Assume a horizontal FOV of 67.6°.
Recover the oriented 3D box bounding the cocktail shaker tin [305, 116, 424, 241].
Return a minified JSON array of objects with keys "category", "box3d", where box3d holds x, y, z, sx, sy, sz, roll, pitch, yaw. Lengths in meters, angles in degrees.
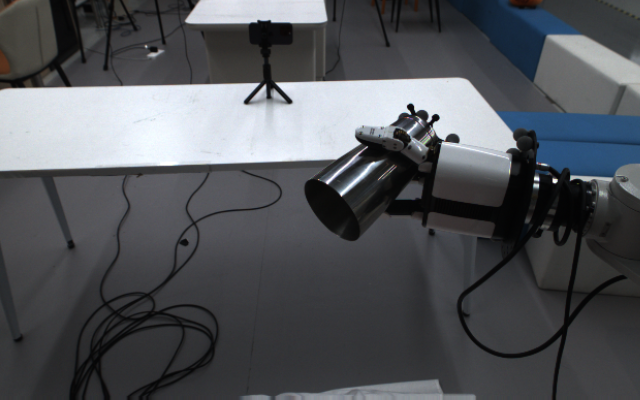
[{"category":"cocktail shaker tin","box3d":[0.073,-0.041,0.612,0.170,0.093,0.093,-38,50,-24]}]
